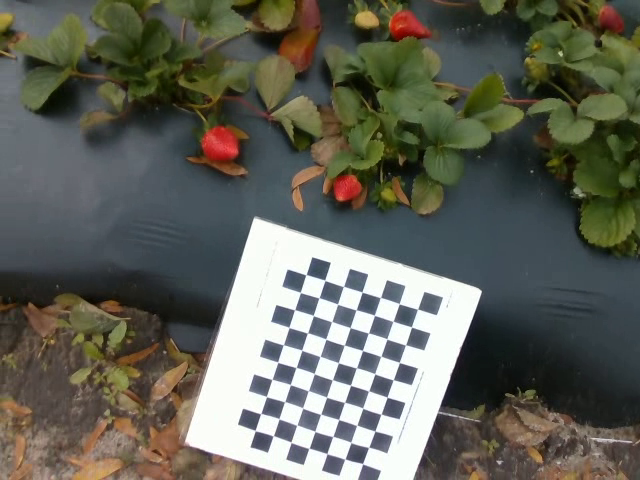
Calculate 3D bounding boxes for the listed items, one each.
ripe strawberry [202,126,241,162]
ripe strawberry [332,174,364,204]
[{"bbox_3d":[-0.111,-0.115,1.001,0.042,0.047,0.065,19,6,-42],"label":"ripe strawberry"},{"bbox_3d":[0.033,-0.062,1.011,0.040,0.042,0.037,28,-47,-4],"label":"ripe strawberry"}]
